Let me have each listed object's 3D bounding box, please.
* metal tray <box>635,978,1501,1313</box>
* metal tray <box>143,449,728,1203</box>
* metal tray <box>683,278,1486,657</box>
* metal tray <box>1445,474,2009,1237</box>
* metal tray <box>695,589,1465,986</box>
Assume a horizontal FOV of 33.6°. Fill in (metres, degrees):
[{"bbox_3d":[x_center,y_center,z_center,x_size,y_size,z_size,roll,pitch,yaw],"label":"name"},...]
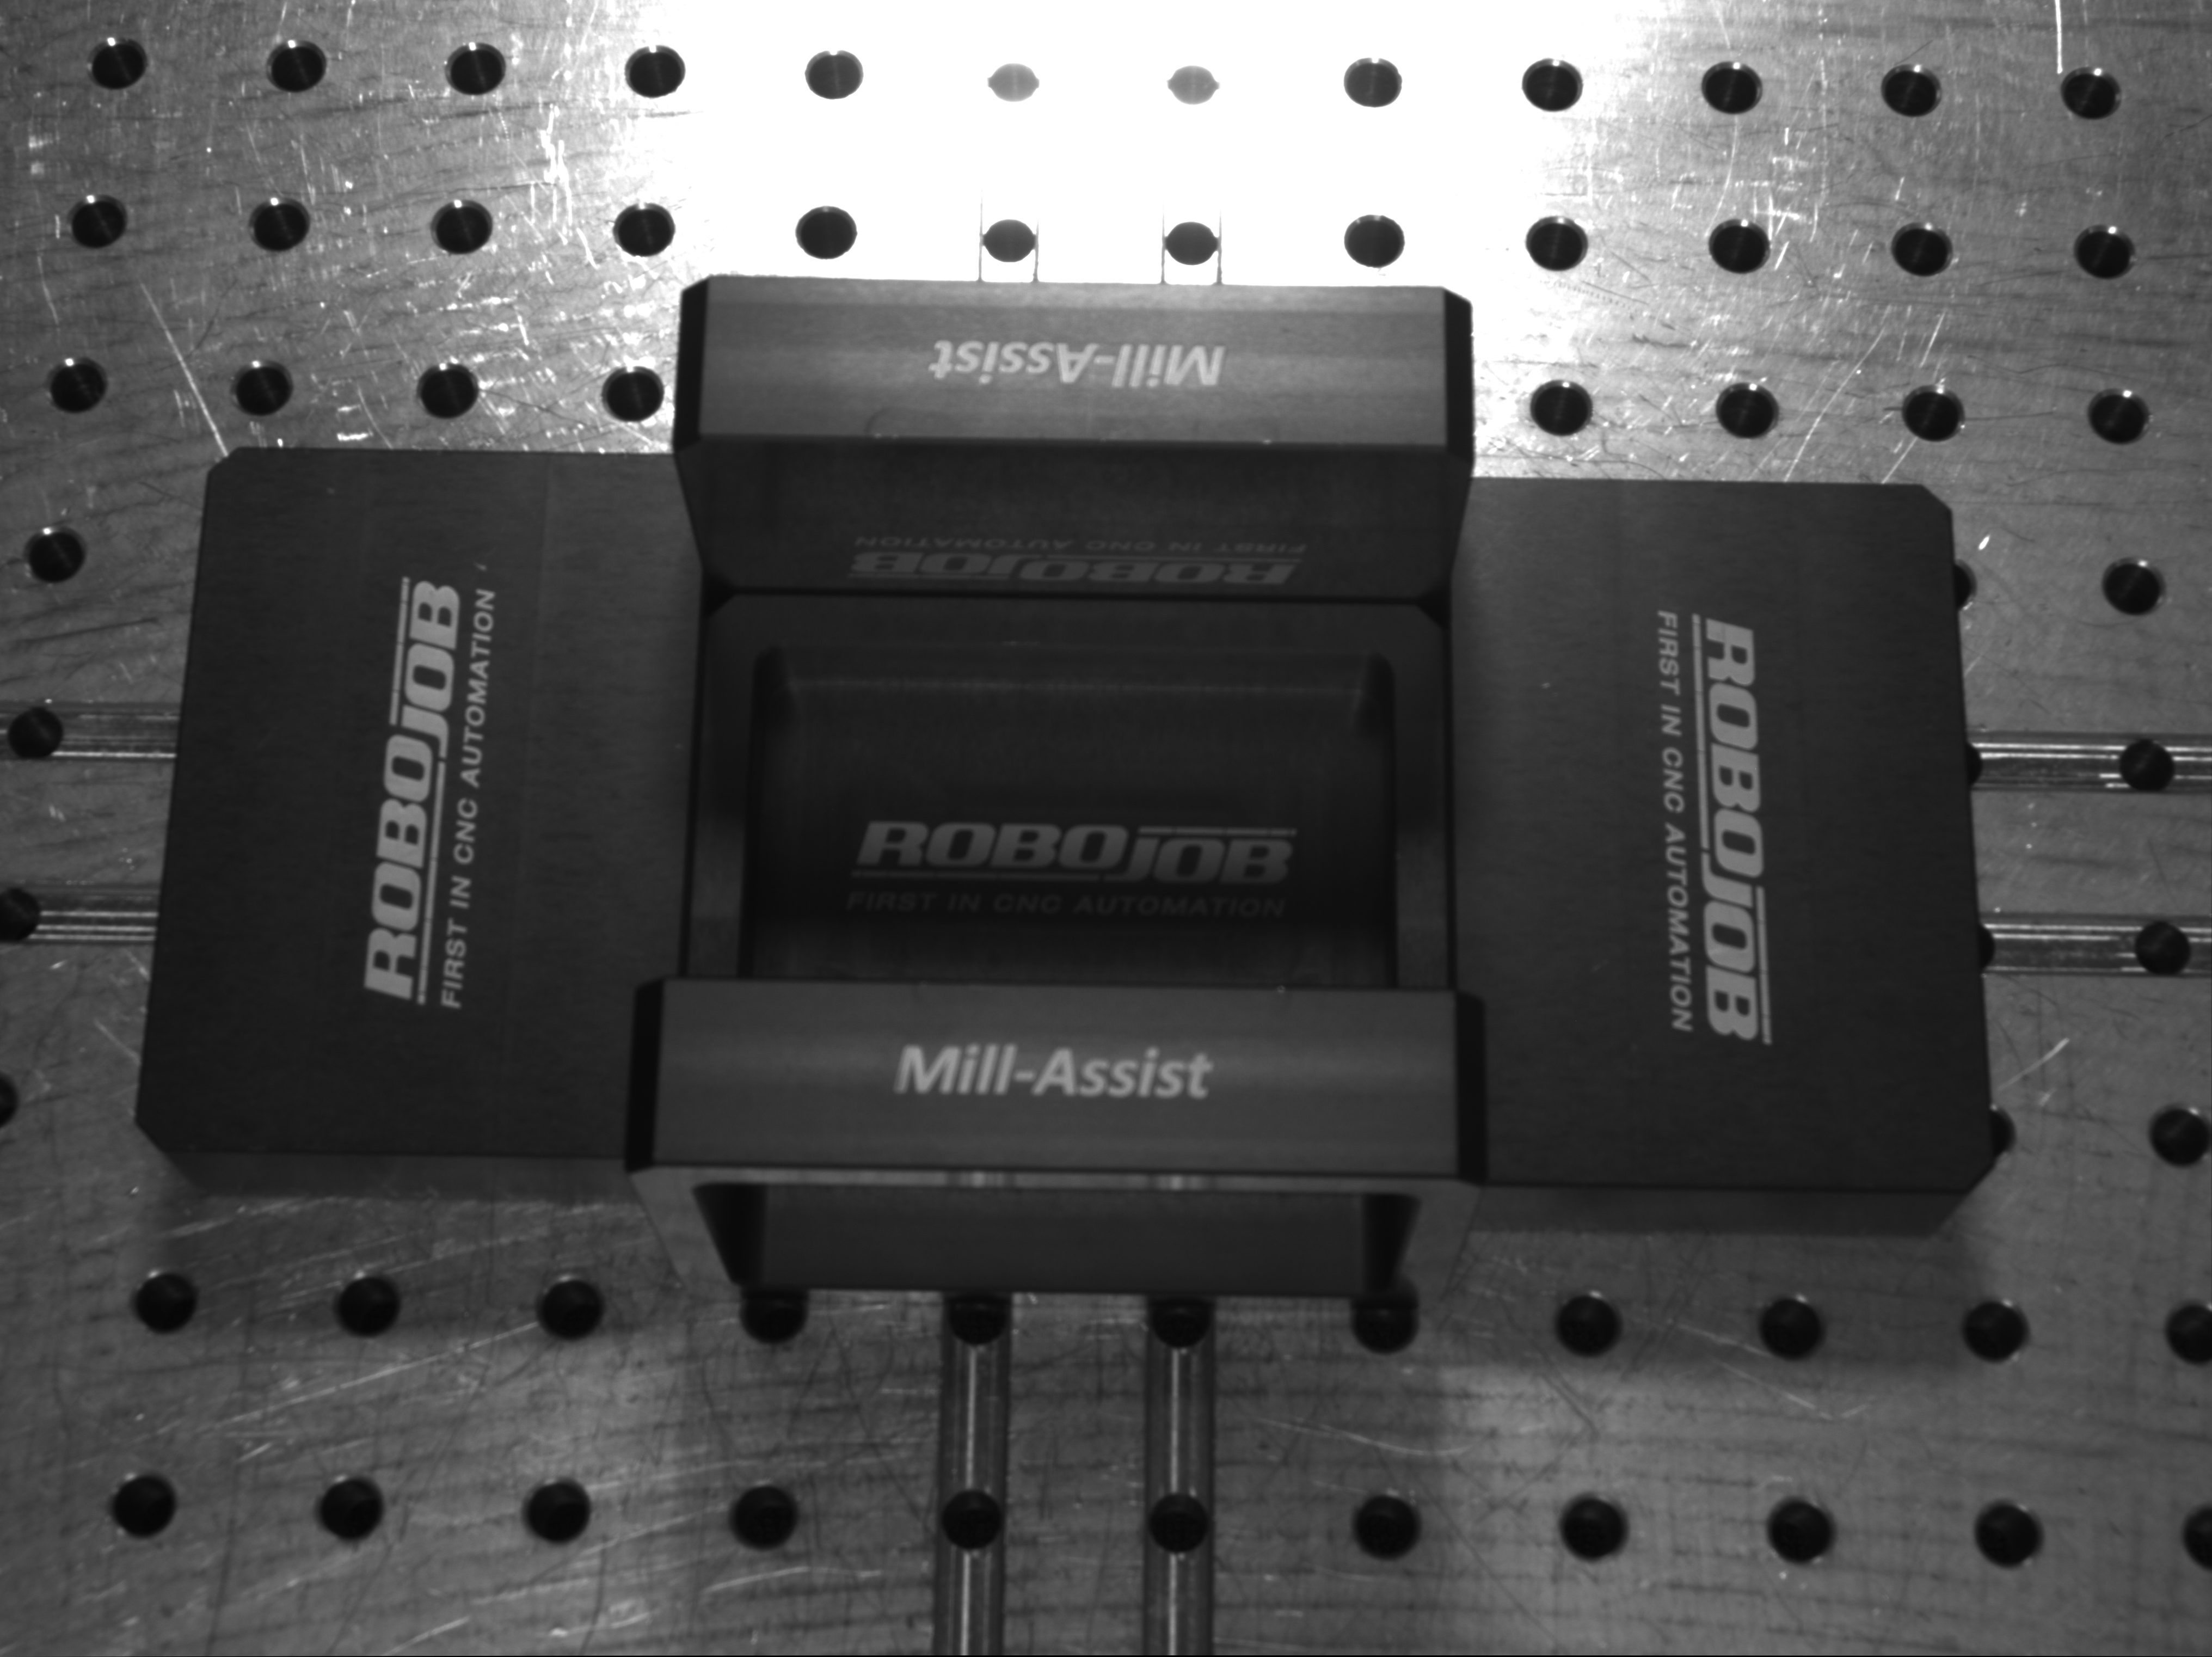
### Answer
[{"bbox_3d":[-0.005,0.053,0.592,0.130,0.090,0.030,1,70,0],"label":"metal tray"},{"bbox_3d":[-0.114,-0.001,0.645,0.090,0.030,0.130,1,70,0],"label":"metal tray"},{"bbox_3d":[-0.003,-0.060,0.635,0.130,0.090,0.030,1,70,0],"label":"metal tray"},{"bbox_3d":[0.106,0.004,0.642,0.090,0.030,0.130,1,70,-1],"label":"metal tray"},{"bbox_3d":[-0.004,0.006,0.640,0.130,0.030,0.090,1,70,0],"label":"metal tray"}]
